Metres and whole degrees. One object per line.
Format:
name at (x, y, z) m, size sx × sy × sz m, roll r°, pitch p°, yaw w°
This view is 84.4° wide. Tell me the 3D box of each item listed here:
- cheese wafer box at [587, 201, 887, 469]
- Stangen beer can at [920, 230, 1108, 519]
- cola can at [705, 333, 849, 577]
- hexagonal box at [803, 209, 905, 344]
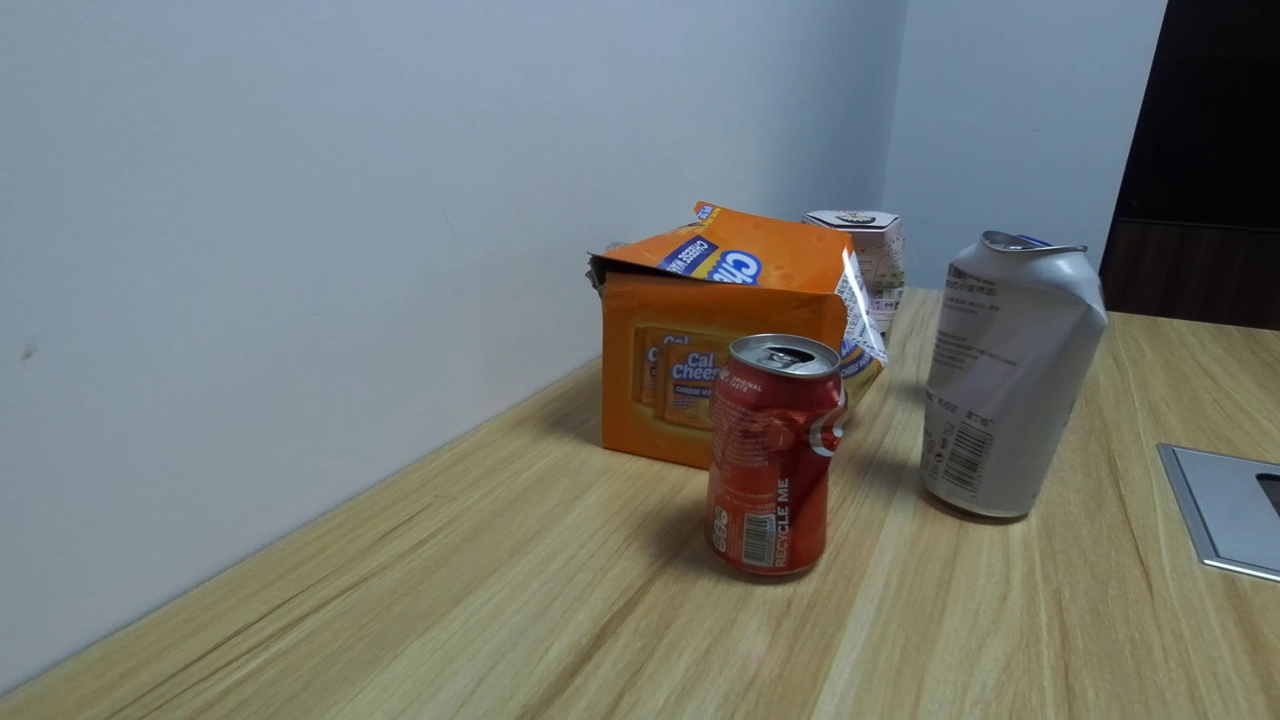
cheese wafer box at (0.090, -0.027, 0.535) m, size 0.190 × 0.145 × 0.219 m, roll 9°, pitch 22°, yaw 20°
Stangen beer can at (0.213, 0.011, 0.414) m, size 0.077 × 0.162 × 0.066 m, roll 8°, pitch 22°, yaw 16°
cola can at (0.069, 0.048, 0.363) m, size 0.066 × 0.117 × 0.066 m, roll -4°, pitch 22°, yaw -16°
hexagonal box at (0.196, -0.068, 0.668) m, size 0.090 × 0.134 × 0.090 m, roll -20°, pitch 30°, yaw -39°
